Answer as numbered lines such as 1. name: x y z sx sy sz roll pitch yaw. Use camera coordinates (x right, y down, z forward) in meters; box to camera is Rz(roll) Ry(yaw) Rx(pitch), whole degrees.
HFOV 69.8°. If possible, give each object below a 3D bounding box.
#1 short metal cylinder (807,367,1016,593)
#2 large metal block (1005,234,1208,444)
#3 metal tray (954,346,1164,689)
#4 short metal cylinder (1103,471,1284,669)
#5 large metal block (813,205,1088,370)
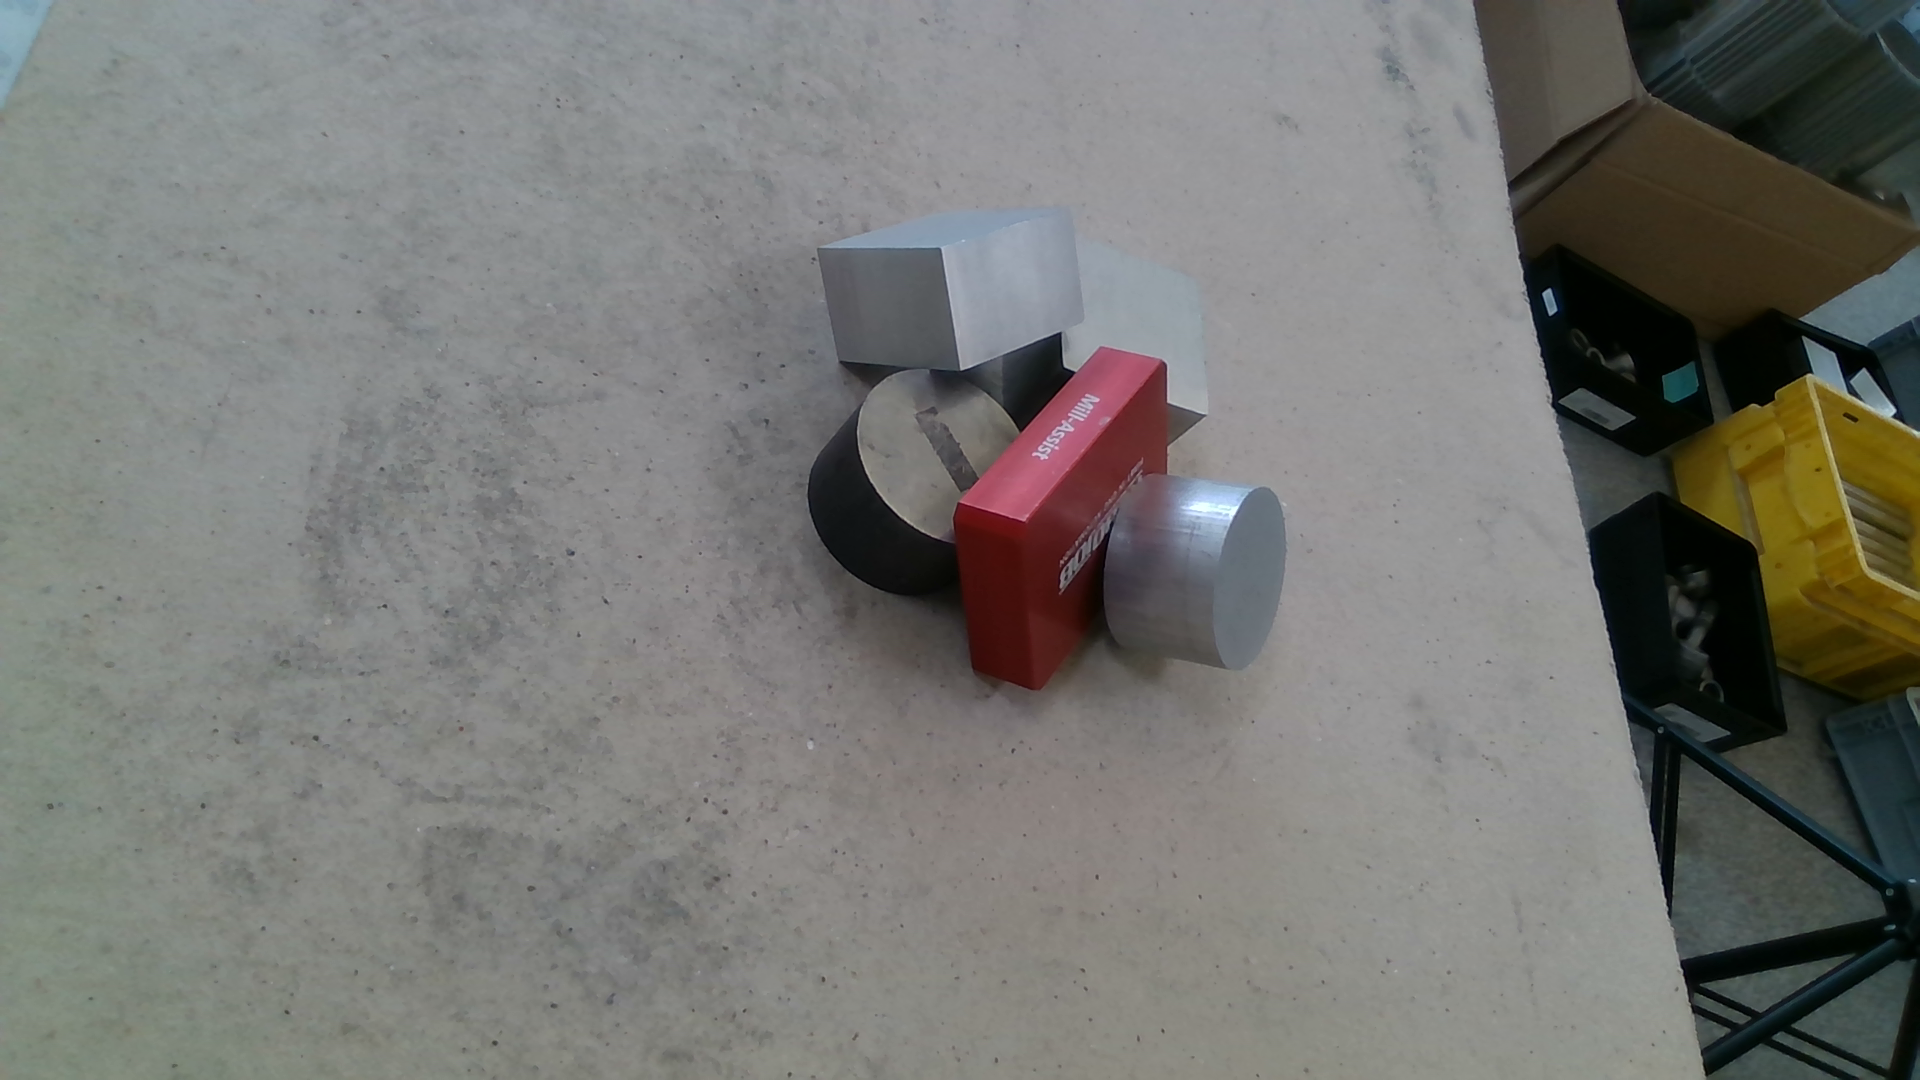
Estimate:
1. short metal cylinder: -0.017 -0.024 0.574 0.080 0.050 0.080 14 59 -25
2. large metal block: 0.068 -0.092 0.659 0.080 0.050 0.080 15 58 -24
3. metal tray: 0.047 -0.012 0.581 0.030 0.090 0.130 18 45 26
4. short metal cylinder: 0.104 0.012 0.602 0.080 0.050 0.080 -20 115 -54
5. large metal block: -0.004 -0.112 0.600 0.080 0.080 0.050 -27 117 -38
